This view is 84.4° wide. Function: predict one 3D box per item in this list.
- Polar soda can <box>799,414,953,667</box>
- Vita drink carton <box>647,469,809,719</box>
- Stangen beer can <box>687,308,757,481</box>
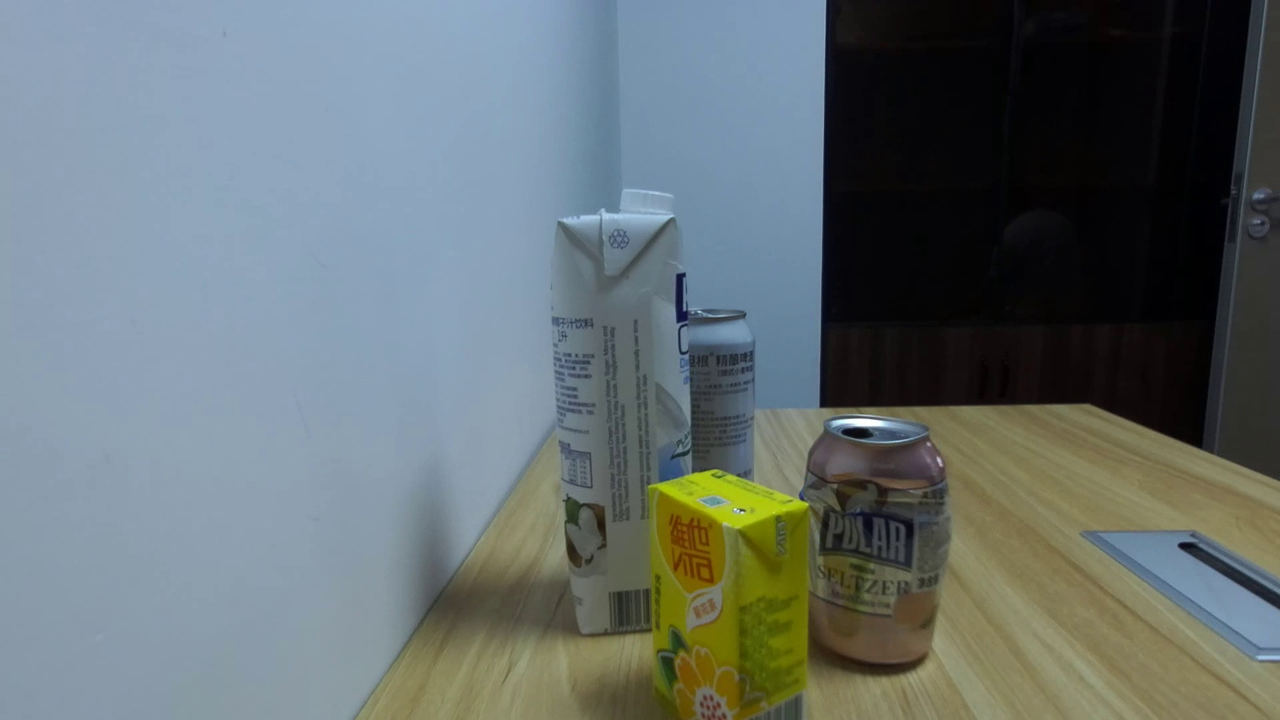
[{"bbox_3d":[0.122,0.094,0.378,0.067,0.122,0.074,-4,11,-23],"label":"Polar soda can"},{"bbox_3d":[0.039,0.114,0.324,0.044,0.109,0.066,-8,12,-32],"label":"Vita drink carton"},{"bbox_3d":[0.050,0.050,0.506,0.067,0.171,0.067,-2,9,1],"label":"Stangen beer can"}]
